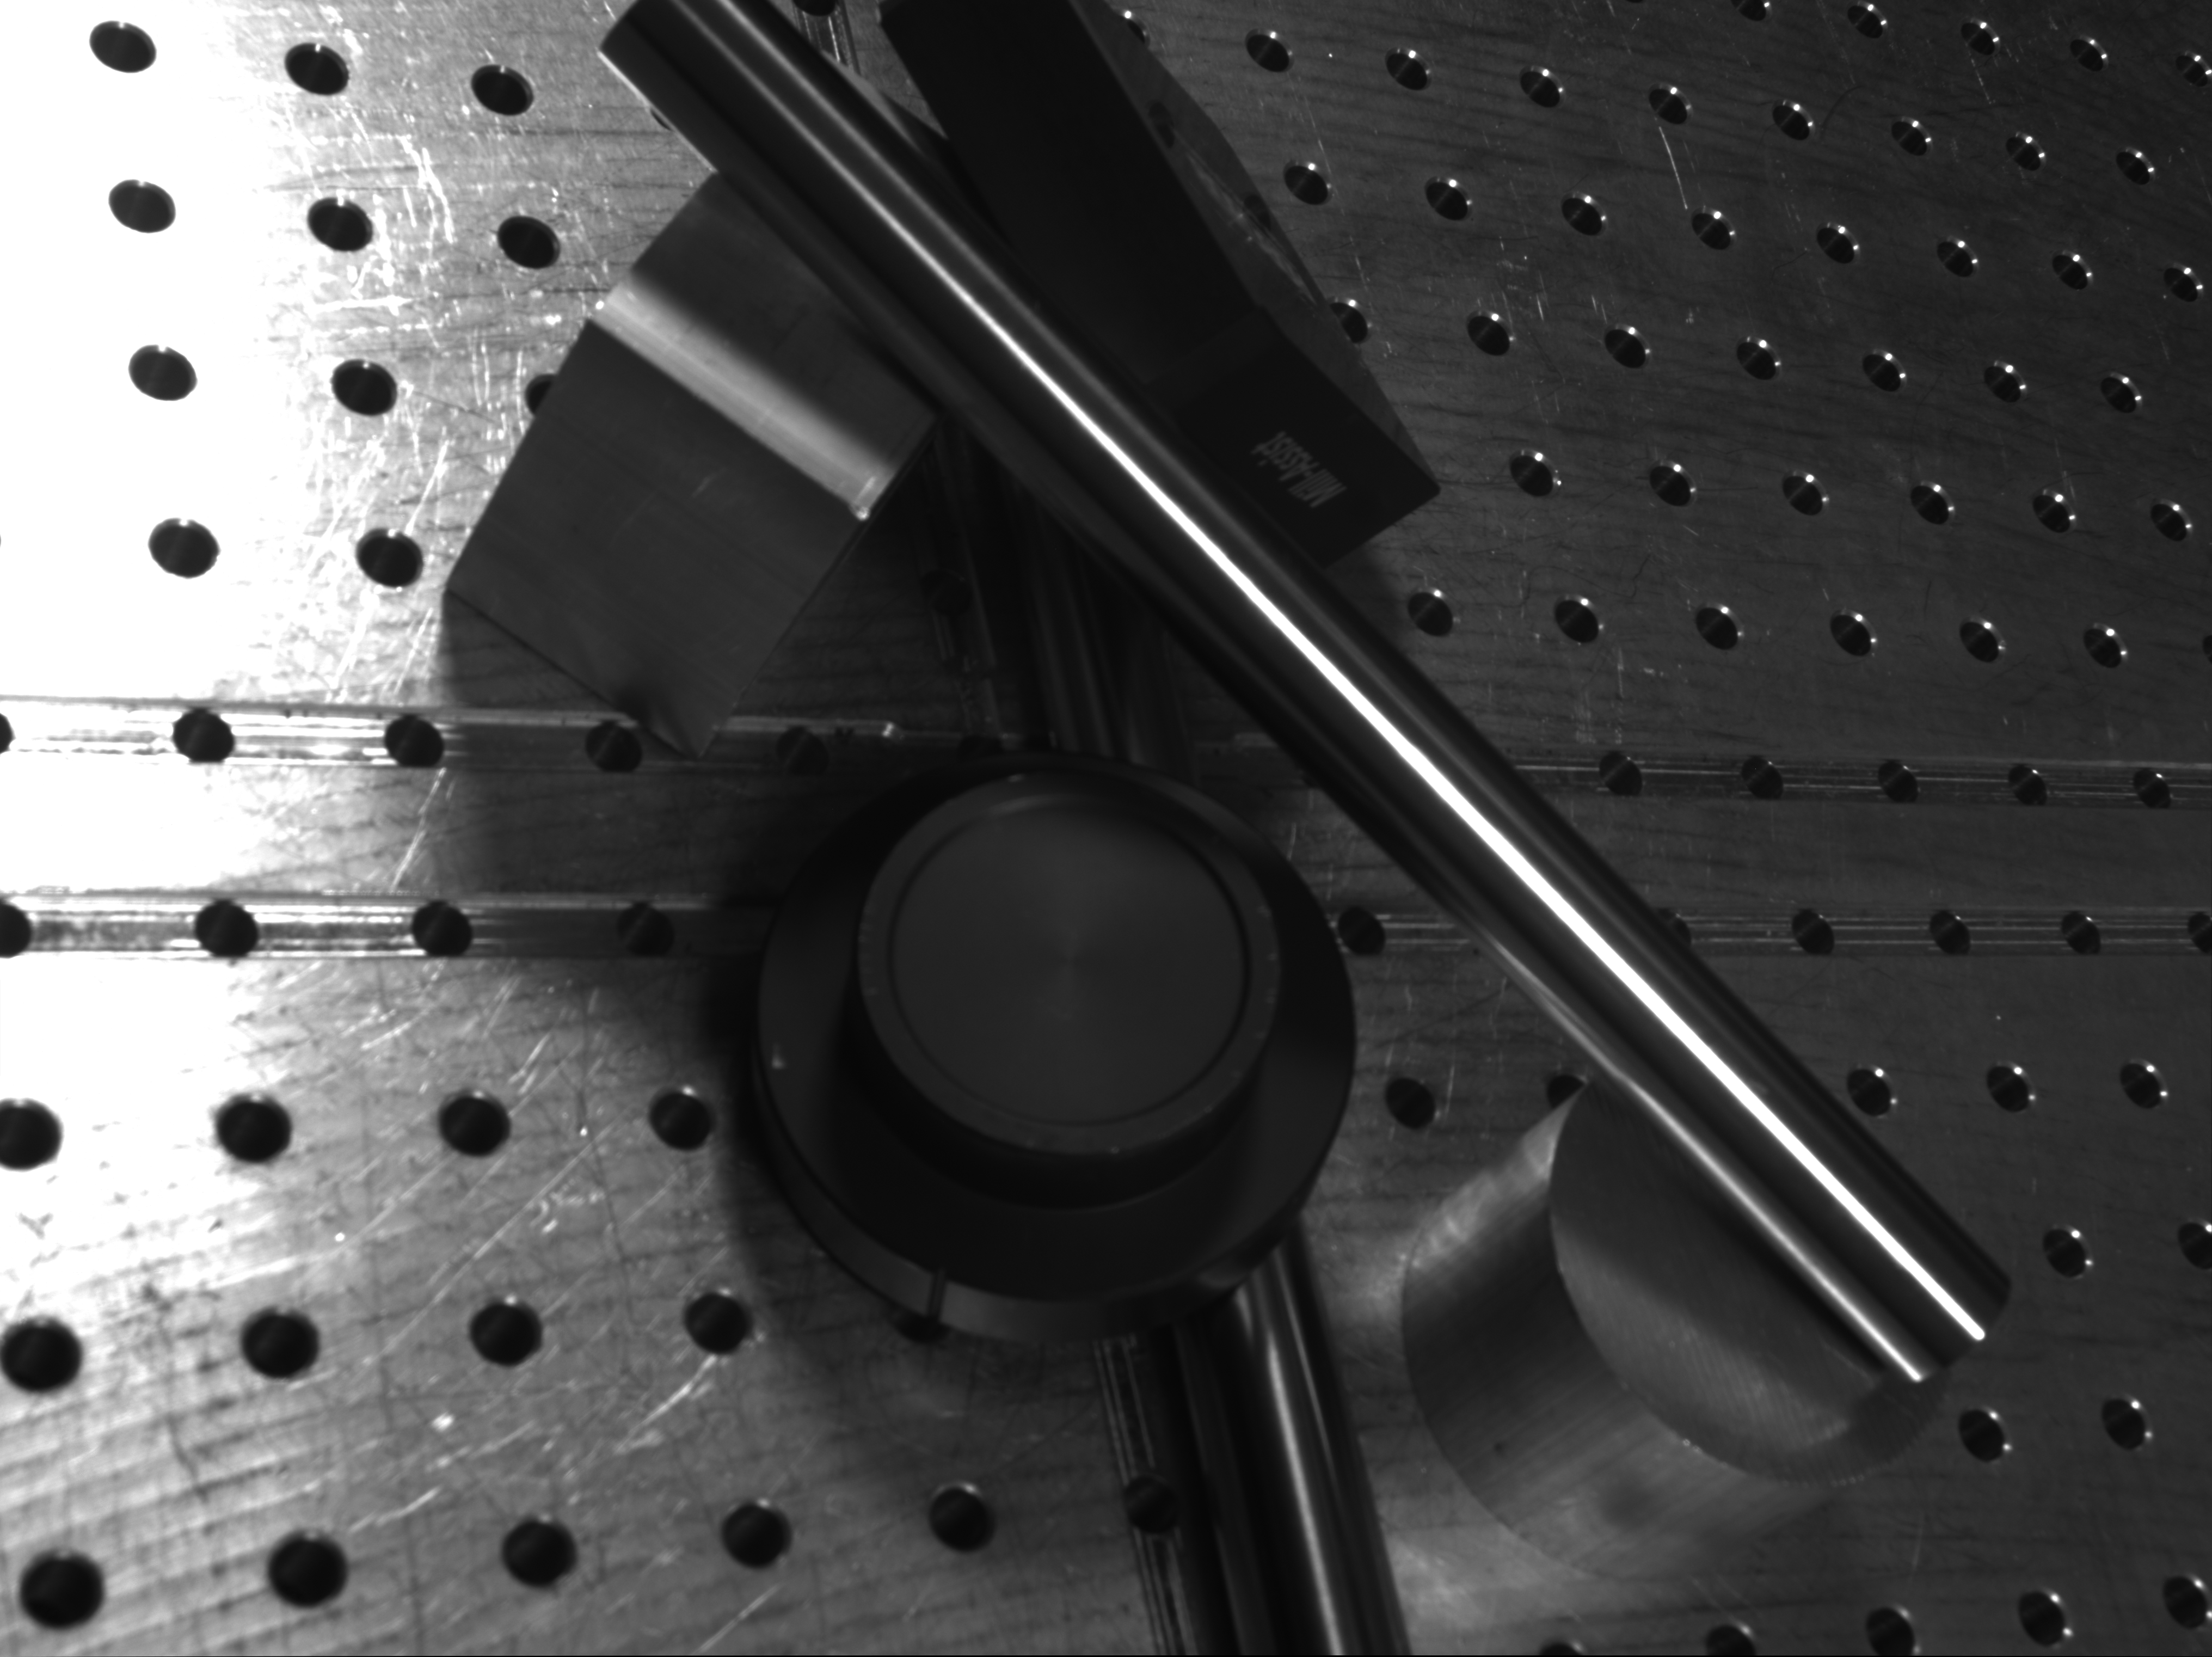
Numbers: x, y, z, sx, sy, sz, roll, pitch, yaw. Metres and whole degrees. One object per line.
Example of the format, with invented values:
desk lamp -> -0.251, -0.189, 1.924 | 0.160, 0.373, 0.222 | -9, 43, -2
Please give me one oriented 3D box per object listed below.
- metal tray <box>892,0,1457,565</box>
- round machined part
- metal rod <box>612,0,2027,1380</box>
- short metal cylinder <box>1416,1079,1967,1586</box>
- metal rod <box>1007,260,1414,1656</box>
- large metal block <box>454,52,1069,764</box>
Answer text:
metal tray -> 0.016, -0.102, 0.660 | 0.090, 0.030, 0.130 | 60, 12, 15
round machined part -> -0.005, 0.030, 0.591 | 0.098, 0.042, 0.098 | 4, 62, -7
metal rod -> 0.037, -0.024, 0.586 | 0.300, 0.025, 0.025 | 45, 51, -7
short metal cylinder -> 0.101, 0.084, 0.630 | 0.080, 0.050, 0.080 | 14, 56, -21
metal rod -> 0.012, 0.016, 0.639 | 0.025, 0.025, 0.300 | 3, 61, -27
large metal block -> -0.058, -0.071, 0.621 | 0.050, 0.080, 0.080 | 36, 51, -4
